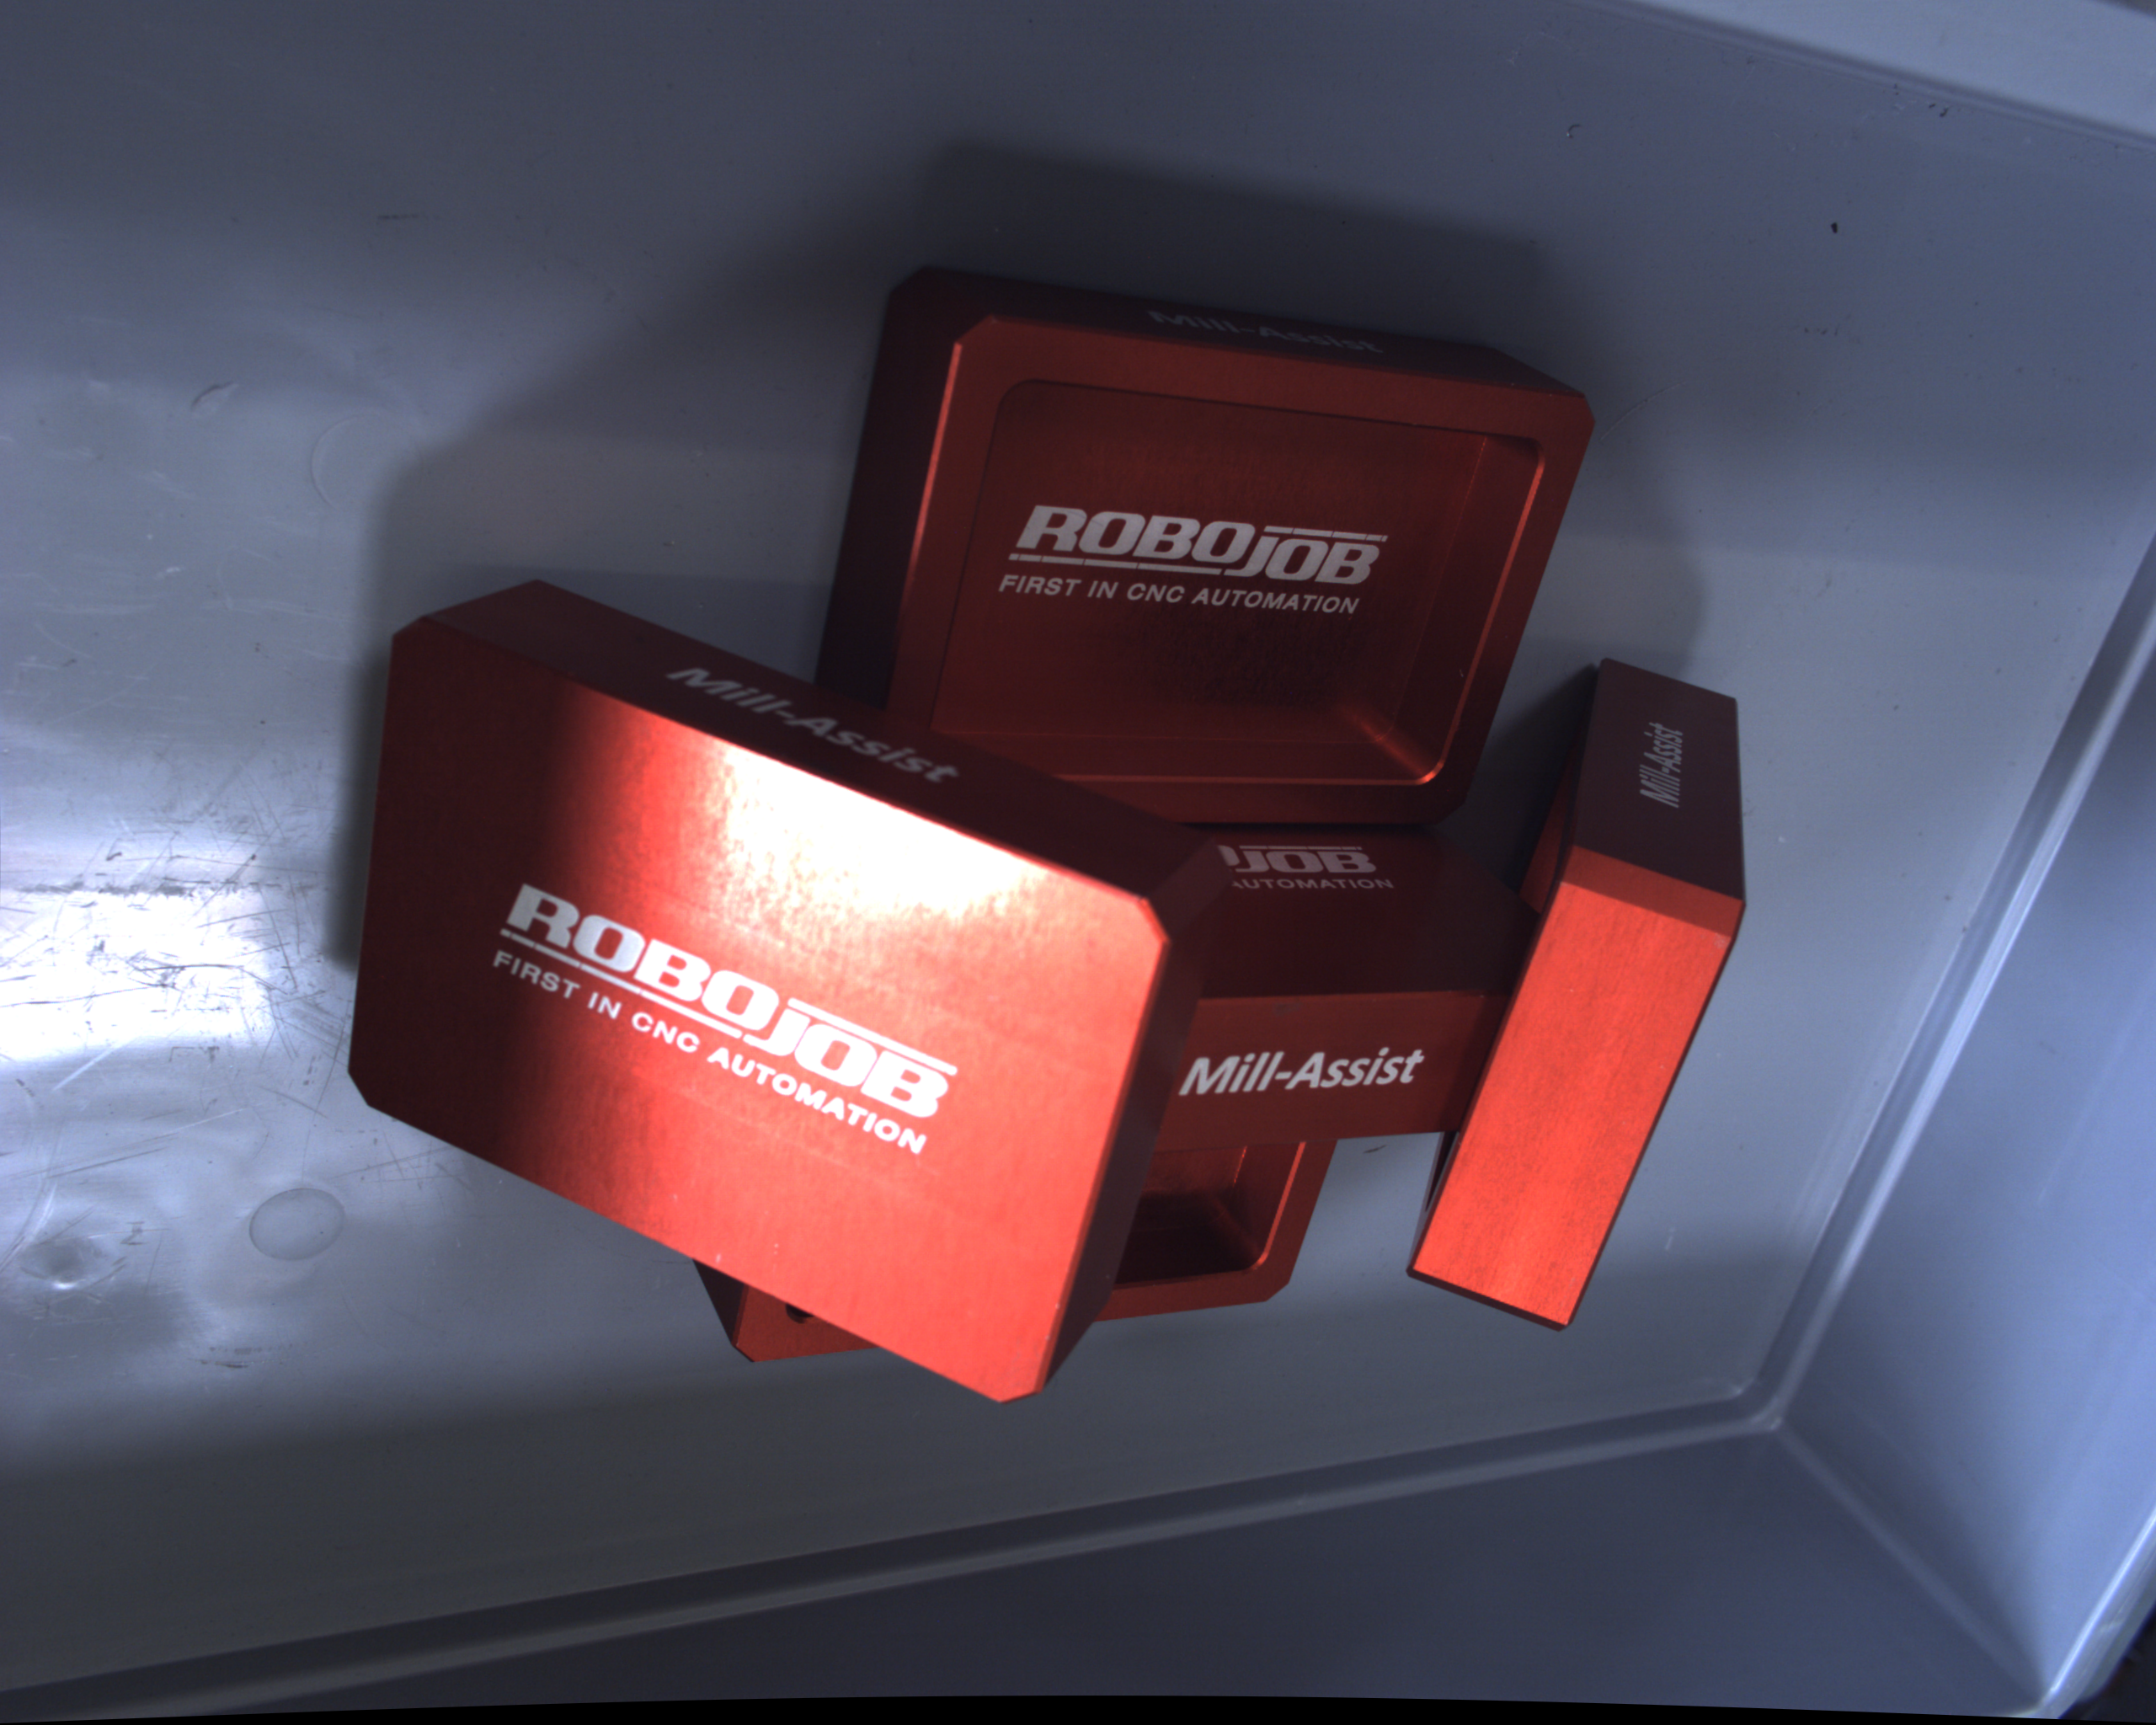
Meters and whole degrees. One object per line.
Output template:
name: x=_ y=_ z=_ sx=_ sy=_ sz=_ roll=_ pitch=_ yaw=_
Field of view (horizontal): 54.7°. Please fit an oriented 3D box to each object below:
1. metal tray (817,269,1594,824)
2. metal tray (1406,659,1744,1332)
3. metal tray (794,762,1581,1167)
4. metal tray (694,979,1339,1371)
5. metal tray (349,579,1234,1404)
metal tray: x=0.023 y=-0.053 z=0.383 sx=0.131 sy=0.030 sz=0.089 roll=-1 pitch=119 yaw=-29
metal tray: x=0.101 y=0.020 z=0.415 sx=0.030 sy=0.130 sz=0.089 roll=19 pitch=115 yaw=10
metal tray: x=0.018 y=0.014 z=0.383 sx=0.131 sy=0.090 sz=0.030 roll=0 pitch=118 yaw=-29
metal tray: x=-0.006 y=0.053 z=0.431 sx=0.131 sy=0.030 sz=0.089 roll=0 pitch=118 yaw=-29
metal tray: x=-0.050 y=0.019 z=0.331 sx=0.030 sy=0.130 sz=0.089 roll=-40 pitch=148 yaw=-61
